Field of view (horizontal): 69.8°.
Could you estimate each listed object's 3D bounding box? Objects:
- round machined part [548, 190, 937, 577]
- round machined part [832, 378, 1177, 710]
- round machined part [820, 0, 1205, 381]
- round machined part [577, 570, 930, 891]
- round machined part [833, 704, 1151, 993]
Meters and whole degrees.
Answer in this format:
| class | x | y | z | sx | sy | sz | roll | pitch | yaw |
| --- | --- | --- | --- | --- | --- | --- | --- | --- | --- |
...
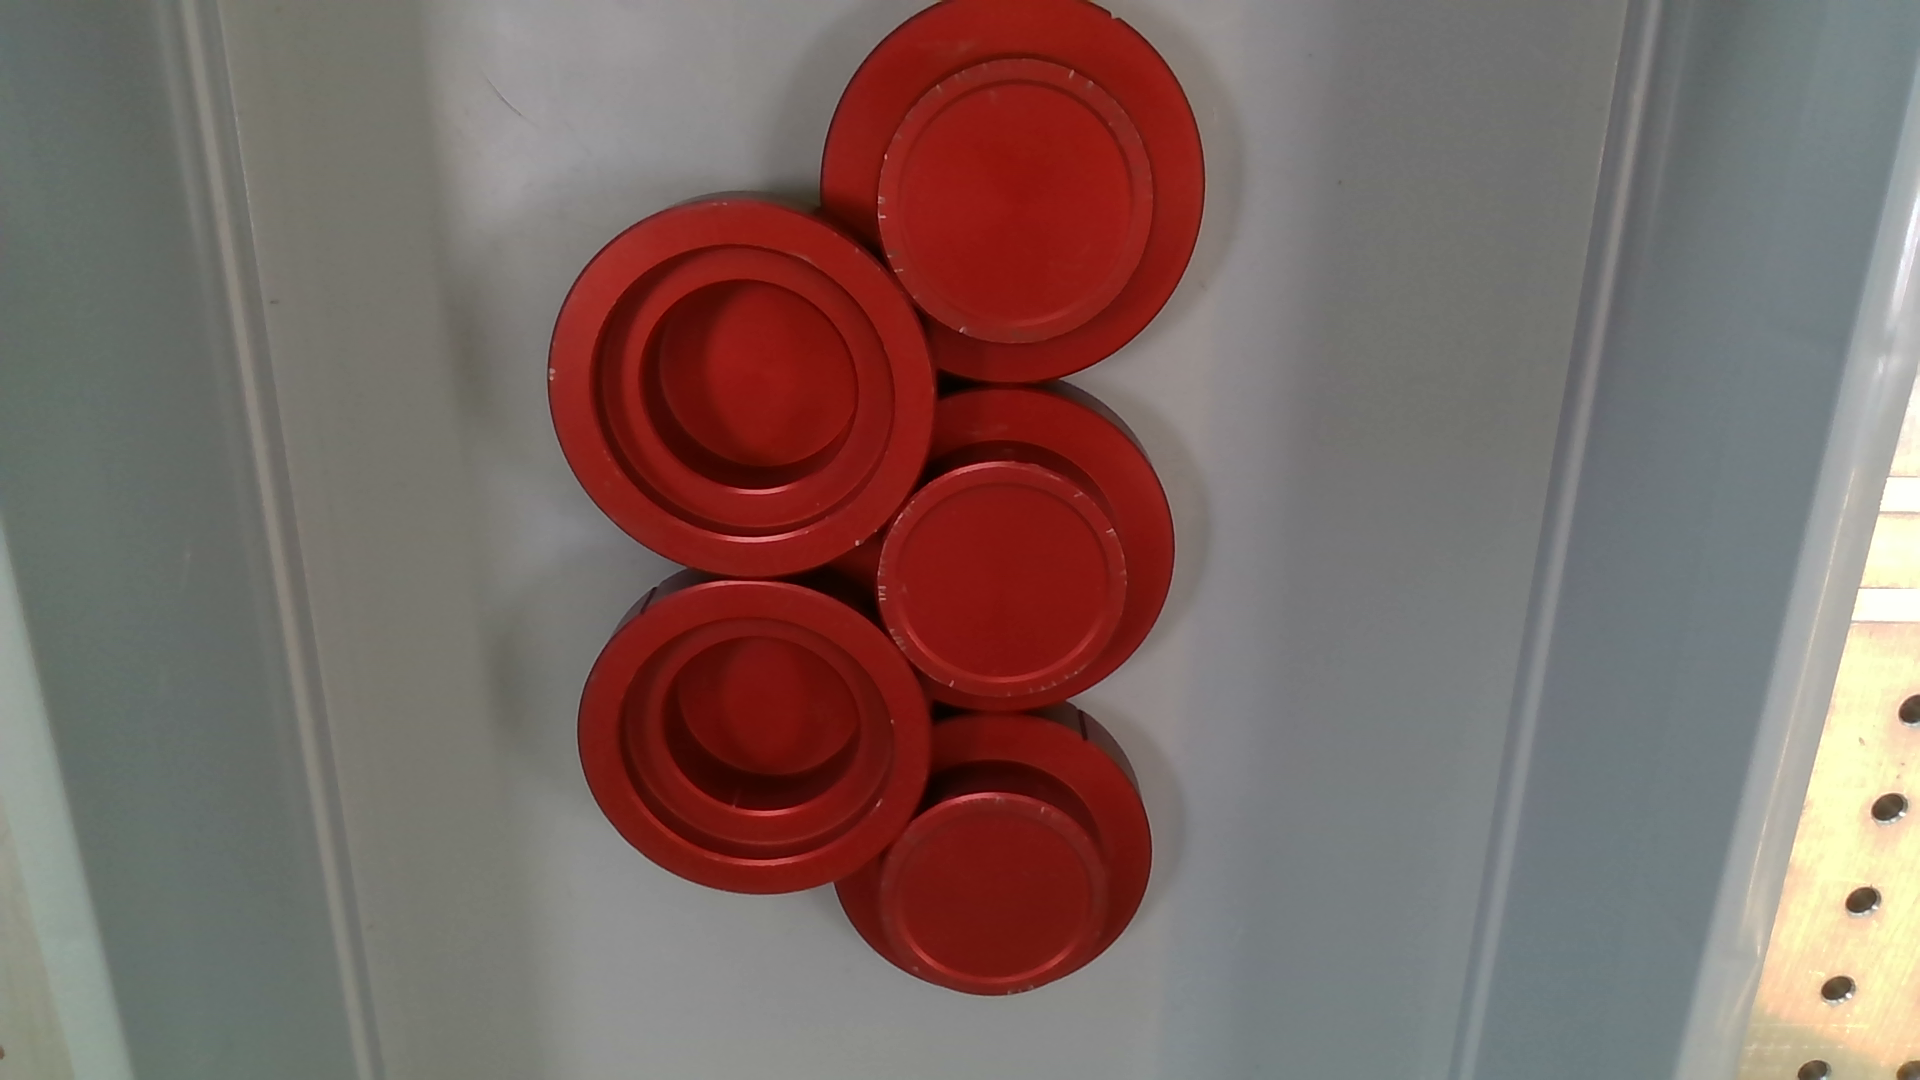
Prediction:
| class | x | y | z | sx | sy | sz | roll | pitch | yaw |
| --- | --- | --- | --- | --- | --- | --- | --- | --- | --- |
| round machined part | -0.055 | -0.043 | 0.367 | 0.098 | 0.042 | 0.098 | 0 | 110 | 0 |
| round machined part | 0.012 | 0.004 | 0.384 | 0.098 | 0.042 | 0.098 | 0 | 110 | -1 |
| round machined part | 0.013 | -0.088 | 0.350 | 0.098 | 0.042 | 0.098 | 0 | 111 | -1 |
| round machined part | -0.057 | 0.049 | 0.401 | 0.098 | 0.042 | 0.098 | 0 | 110 | 0 |
| round machined part | 0.009 | 0.096 | 0.418 | 0.098 | 0.042 | 0.098 | 0 | 110 | -1 |
